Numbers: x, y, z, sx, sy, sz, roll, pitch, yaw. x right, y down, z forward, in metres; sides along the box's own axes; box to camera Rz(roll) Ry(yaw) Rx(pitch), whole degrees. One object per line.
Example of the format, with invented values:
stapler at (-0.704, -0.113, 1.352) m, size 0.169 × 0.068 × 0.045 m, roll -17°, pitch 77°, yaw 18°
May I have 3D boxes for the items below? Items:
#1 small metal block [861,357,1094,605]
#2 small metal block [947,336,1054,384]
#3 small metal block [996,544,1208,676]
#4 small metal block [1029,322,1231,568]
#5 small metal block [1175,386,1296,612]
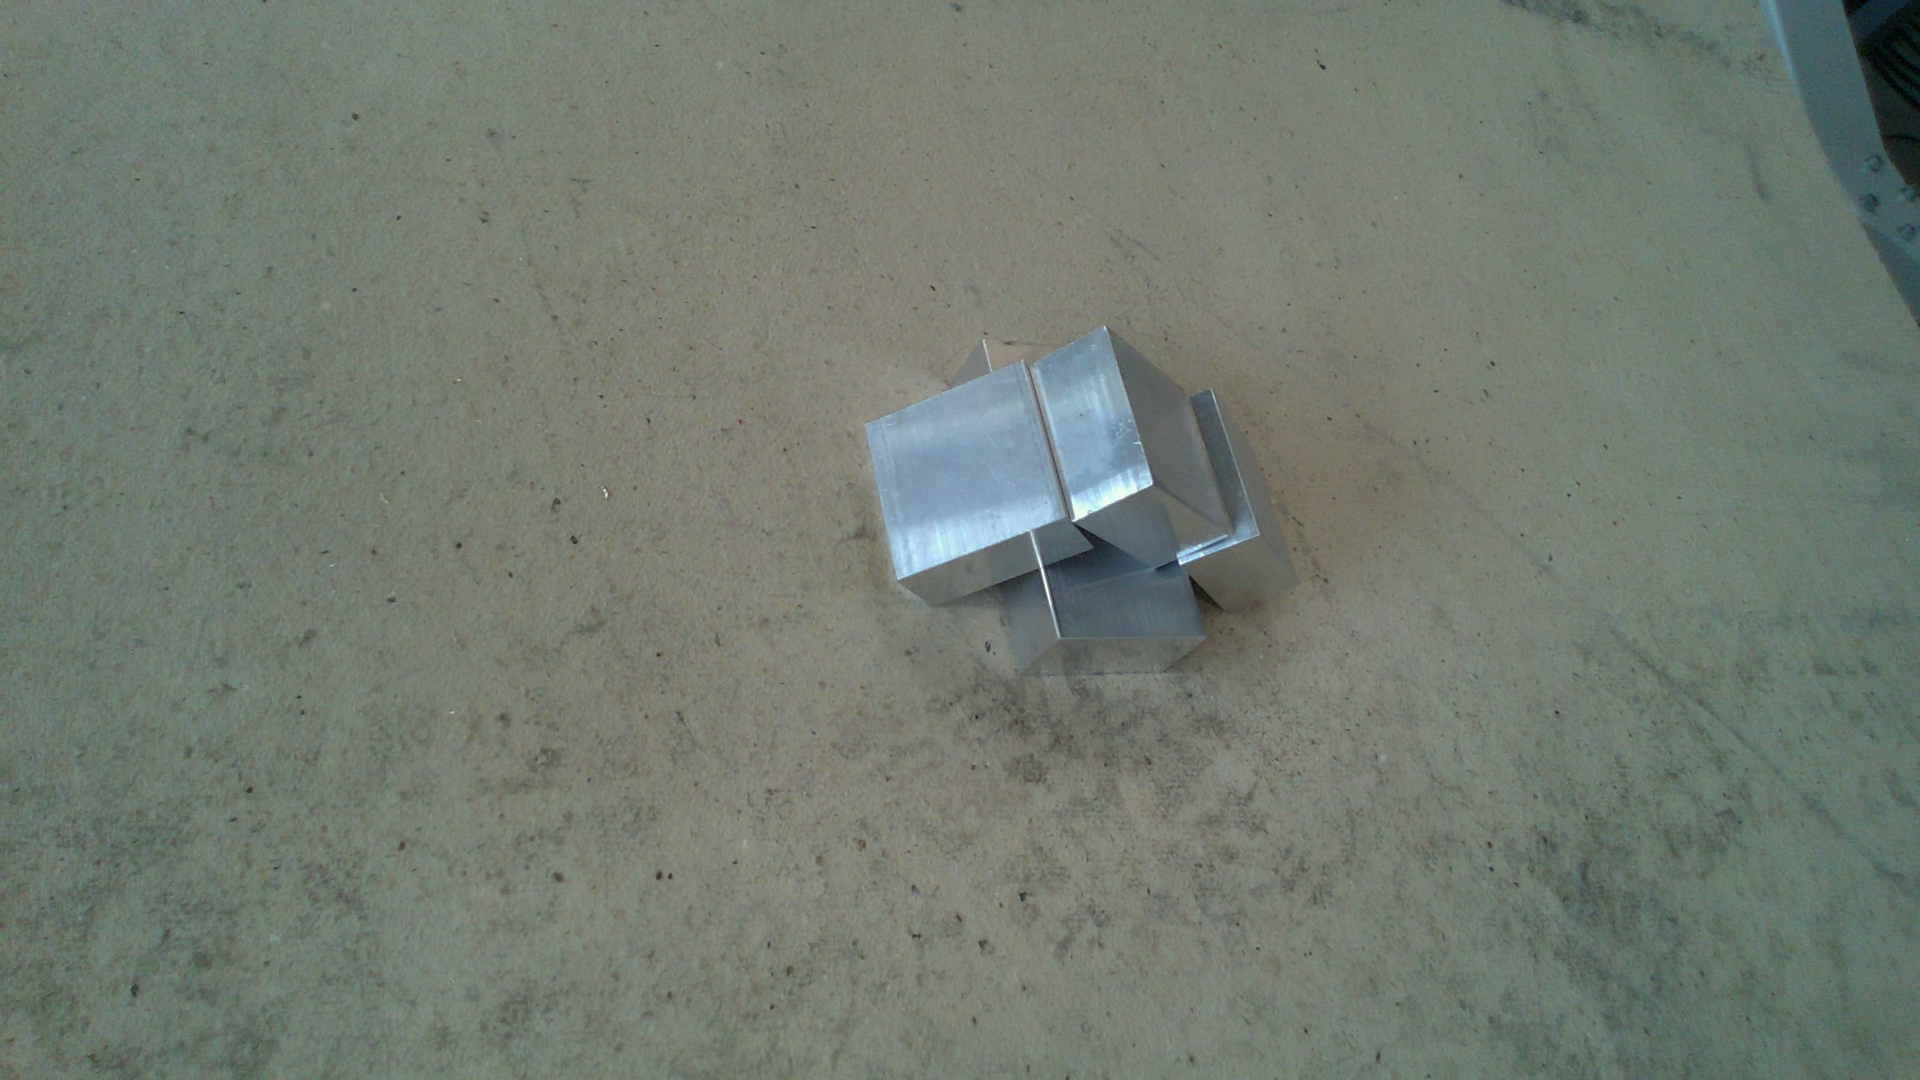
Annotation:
small metal block at (0.004, -0.016, 0.384) m, size 0.025 × 0.050 × 0.050 m, roll 41°, pitch 32°, yaw -60°
small metal block at (0.028, -0.033, 0.426) m, size 0.050 × 0.025 × 0.050 m, roll 1°, pitch 61°, yaw -28°
small metal block at (0.039, 0.011, 0.404) m, size 0.050 × 0.025 × 0.050 m, roll 1°, pitch 61°, yaw -28°
small metal block at (0.048, -0.025, 0.385) m, size 0.050 × 0.025 × 0.050 m, roll 25°, pitch 45°, yaw -53°
small metal block at (0.079, -0.011, 0.424) m, size 0.050 × 0.025 × 0.050 m, roll 37°, pitch 36°, yaw -58°
